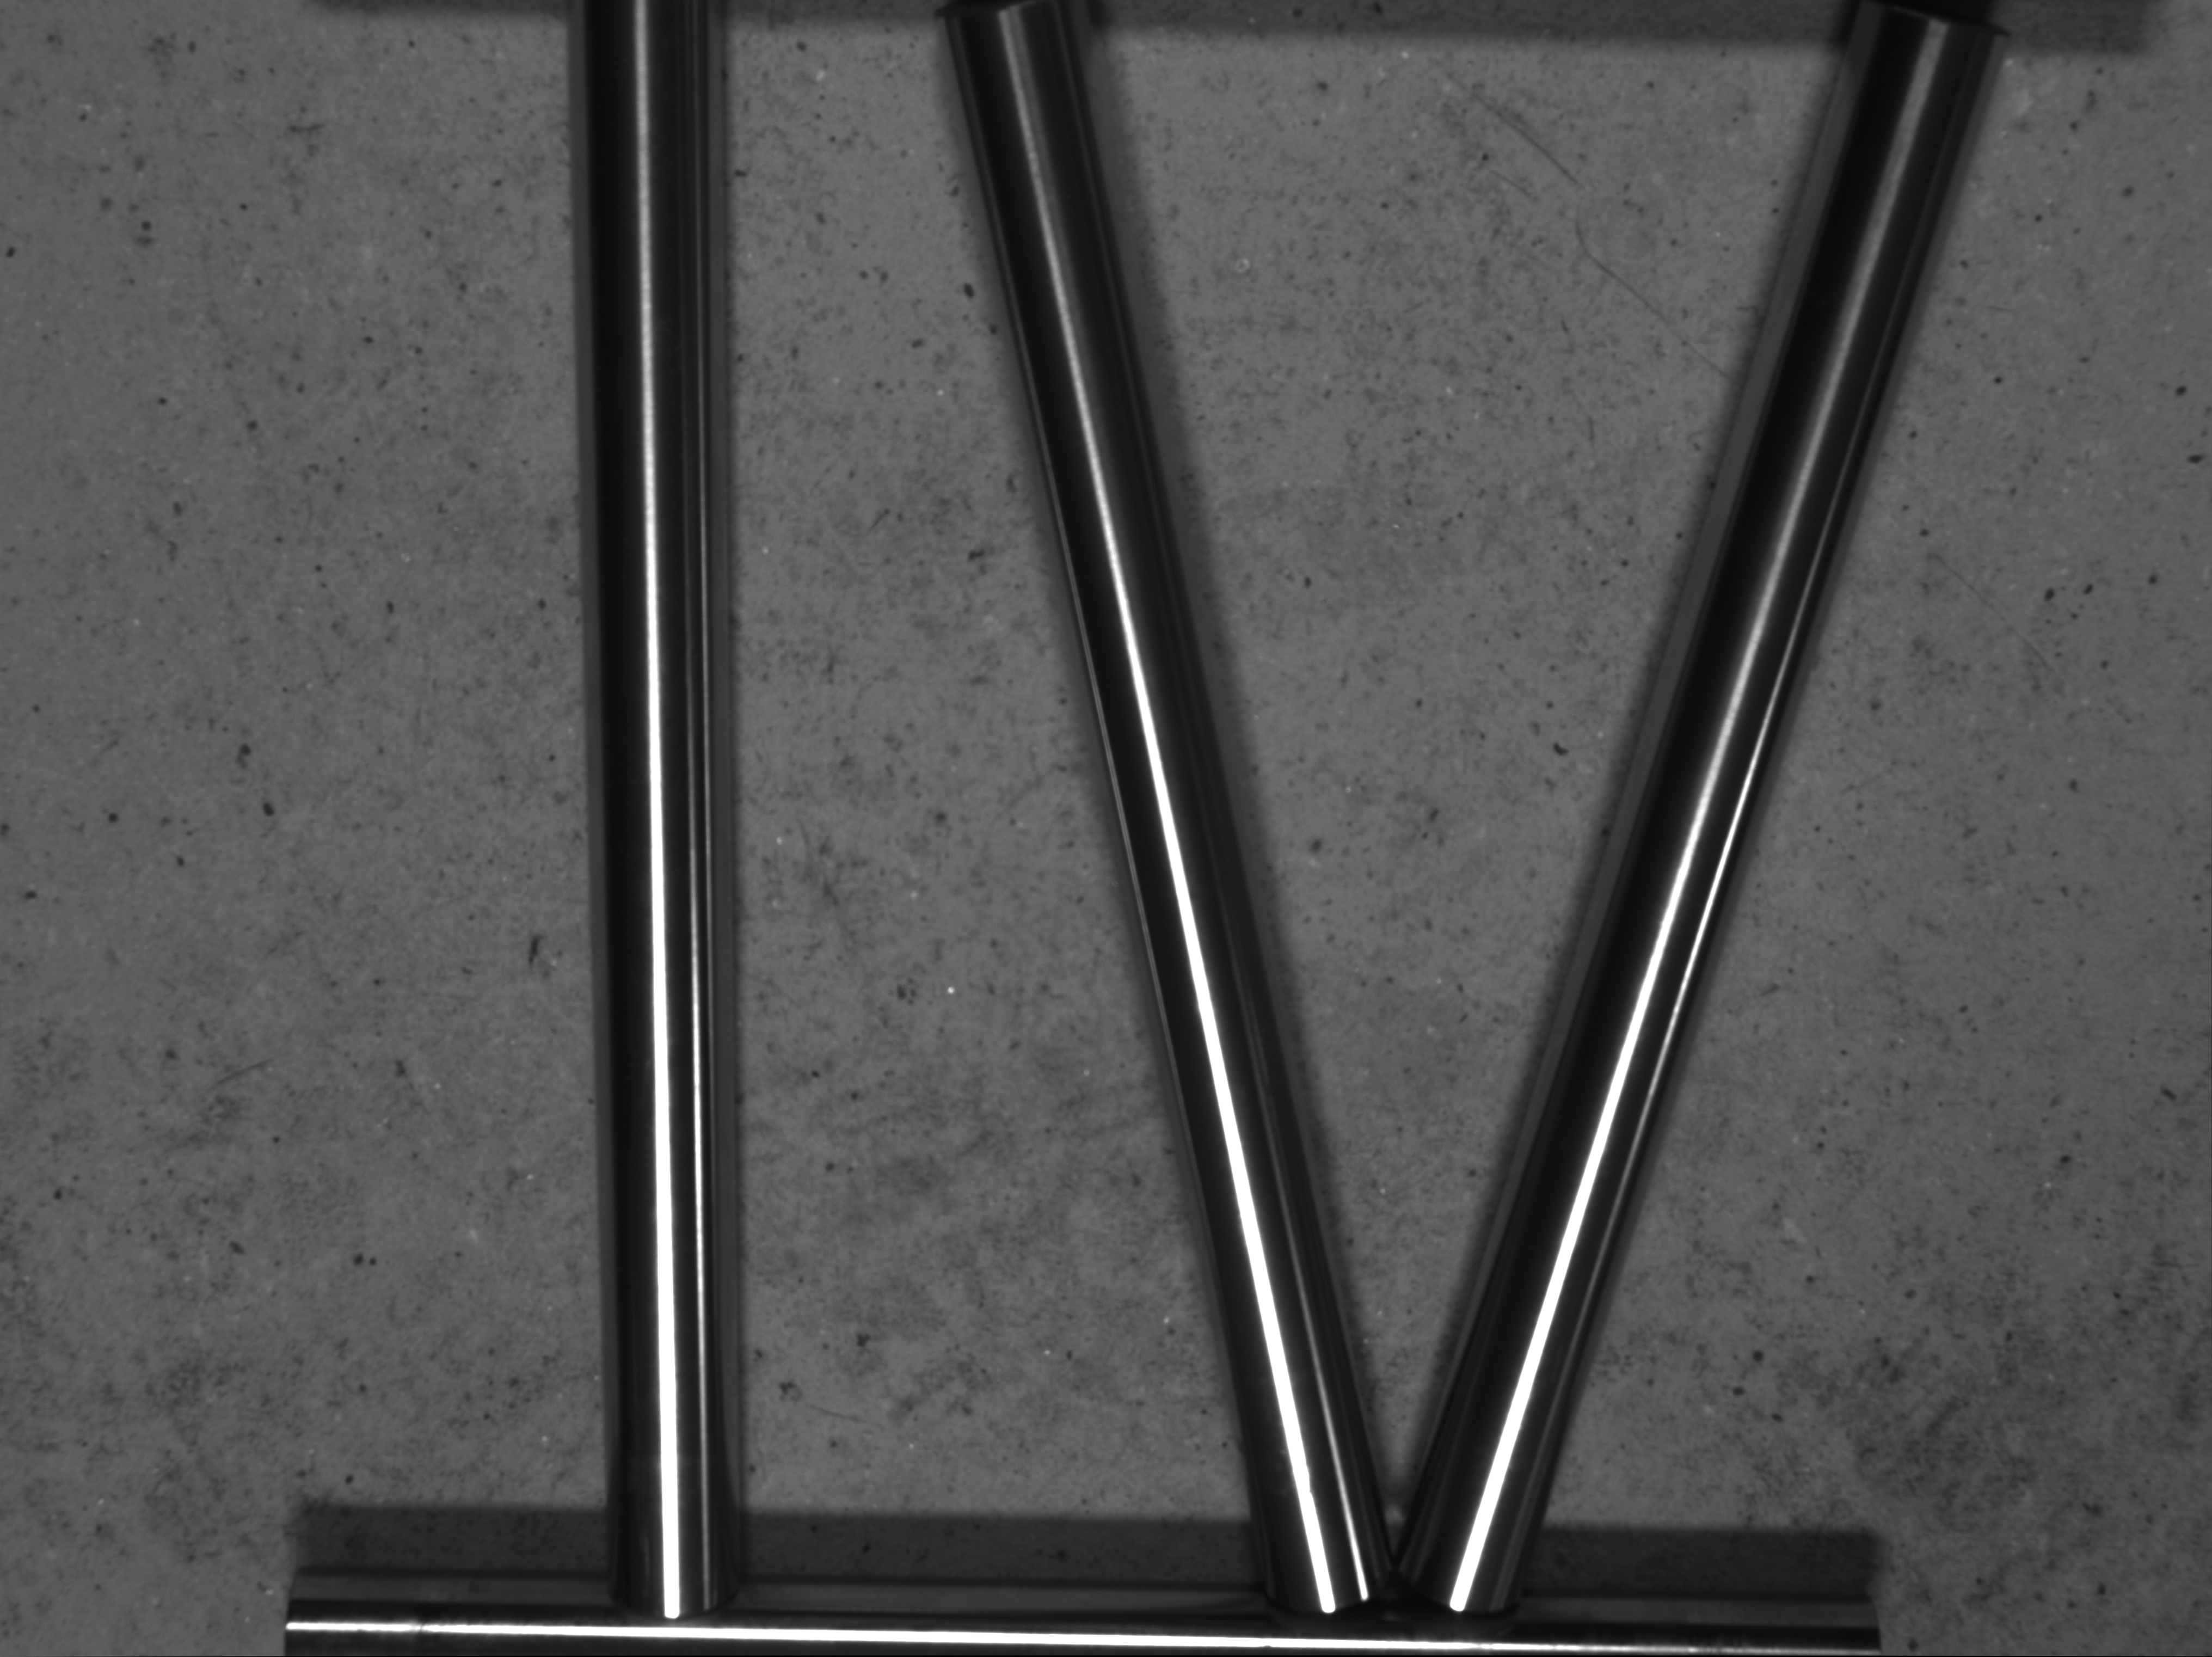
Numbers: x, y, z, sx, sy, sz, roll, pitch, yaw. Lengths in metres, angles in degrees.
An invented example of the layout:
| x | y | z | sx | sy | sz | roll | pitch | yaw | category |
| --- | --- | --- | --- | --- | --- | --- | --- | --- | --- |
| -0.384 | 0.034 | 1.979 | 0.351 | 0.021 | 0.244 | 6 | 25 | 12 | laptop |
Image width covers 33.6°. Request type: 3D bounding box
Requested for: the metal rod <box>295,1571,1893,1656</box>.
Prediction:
| x | y | z | sx | sy | sz | roll | pitch | yaw | category |
| --- | --- | --- | --- | --- | --- | --- | --- | --- | --- |
| -0.002 | 0.157 | 0.699 | 0.300 | 0.025 | 0.025 | 1 | 110 | -1 | metal rod |

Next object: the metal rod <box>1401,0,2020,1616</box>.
| x | y | z | sx | sy | sz | roll | pitch | yaw | category |
| --- | --- | --- | --- | --- | --- | --- | --- | --- | --- |
| 0.102 | 0.005 | 0.645 | 0.025 | 0.025 | 0.300 | 12 | 109 | -5 | metal rod |

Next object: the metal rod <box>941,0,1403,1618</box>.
| x | y | z | sx | sy | sz | roll | pitch | yaw | category |
| --- | --- | --- | --- | --- | --- | --- | --- | --- | --- |
| 0.015 | 0.004 | 0.644 | 0.025 | 0.025 | 0.300 | -11 | 110 | 3 | metal rod |

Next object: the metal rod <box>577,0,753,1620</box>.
| x | y | z | sx | sy | sz | roll | pitch | yaw | category |
| --- | --- | --- | --- | --- | --- | --- | --- | --- | --- |
| -0.076 | 0.002 | 0.642 | 0.025 | 0.025 | 0.300 | 1 | 110 | -1 | metal rod |

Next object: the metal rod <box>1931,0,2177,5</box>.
| x | y | z | sx | sy | sz | roll | pitch | yaw | category |
| --- | --- | --- | --- | --- | --- | --- | --- | --- | --- |
| 0.023 | -0.149 | 0.589 | 0.300 | 0.025 | 0.025 | 1 | 110 | -1 | metal rod |
